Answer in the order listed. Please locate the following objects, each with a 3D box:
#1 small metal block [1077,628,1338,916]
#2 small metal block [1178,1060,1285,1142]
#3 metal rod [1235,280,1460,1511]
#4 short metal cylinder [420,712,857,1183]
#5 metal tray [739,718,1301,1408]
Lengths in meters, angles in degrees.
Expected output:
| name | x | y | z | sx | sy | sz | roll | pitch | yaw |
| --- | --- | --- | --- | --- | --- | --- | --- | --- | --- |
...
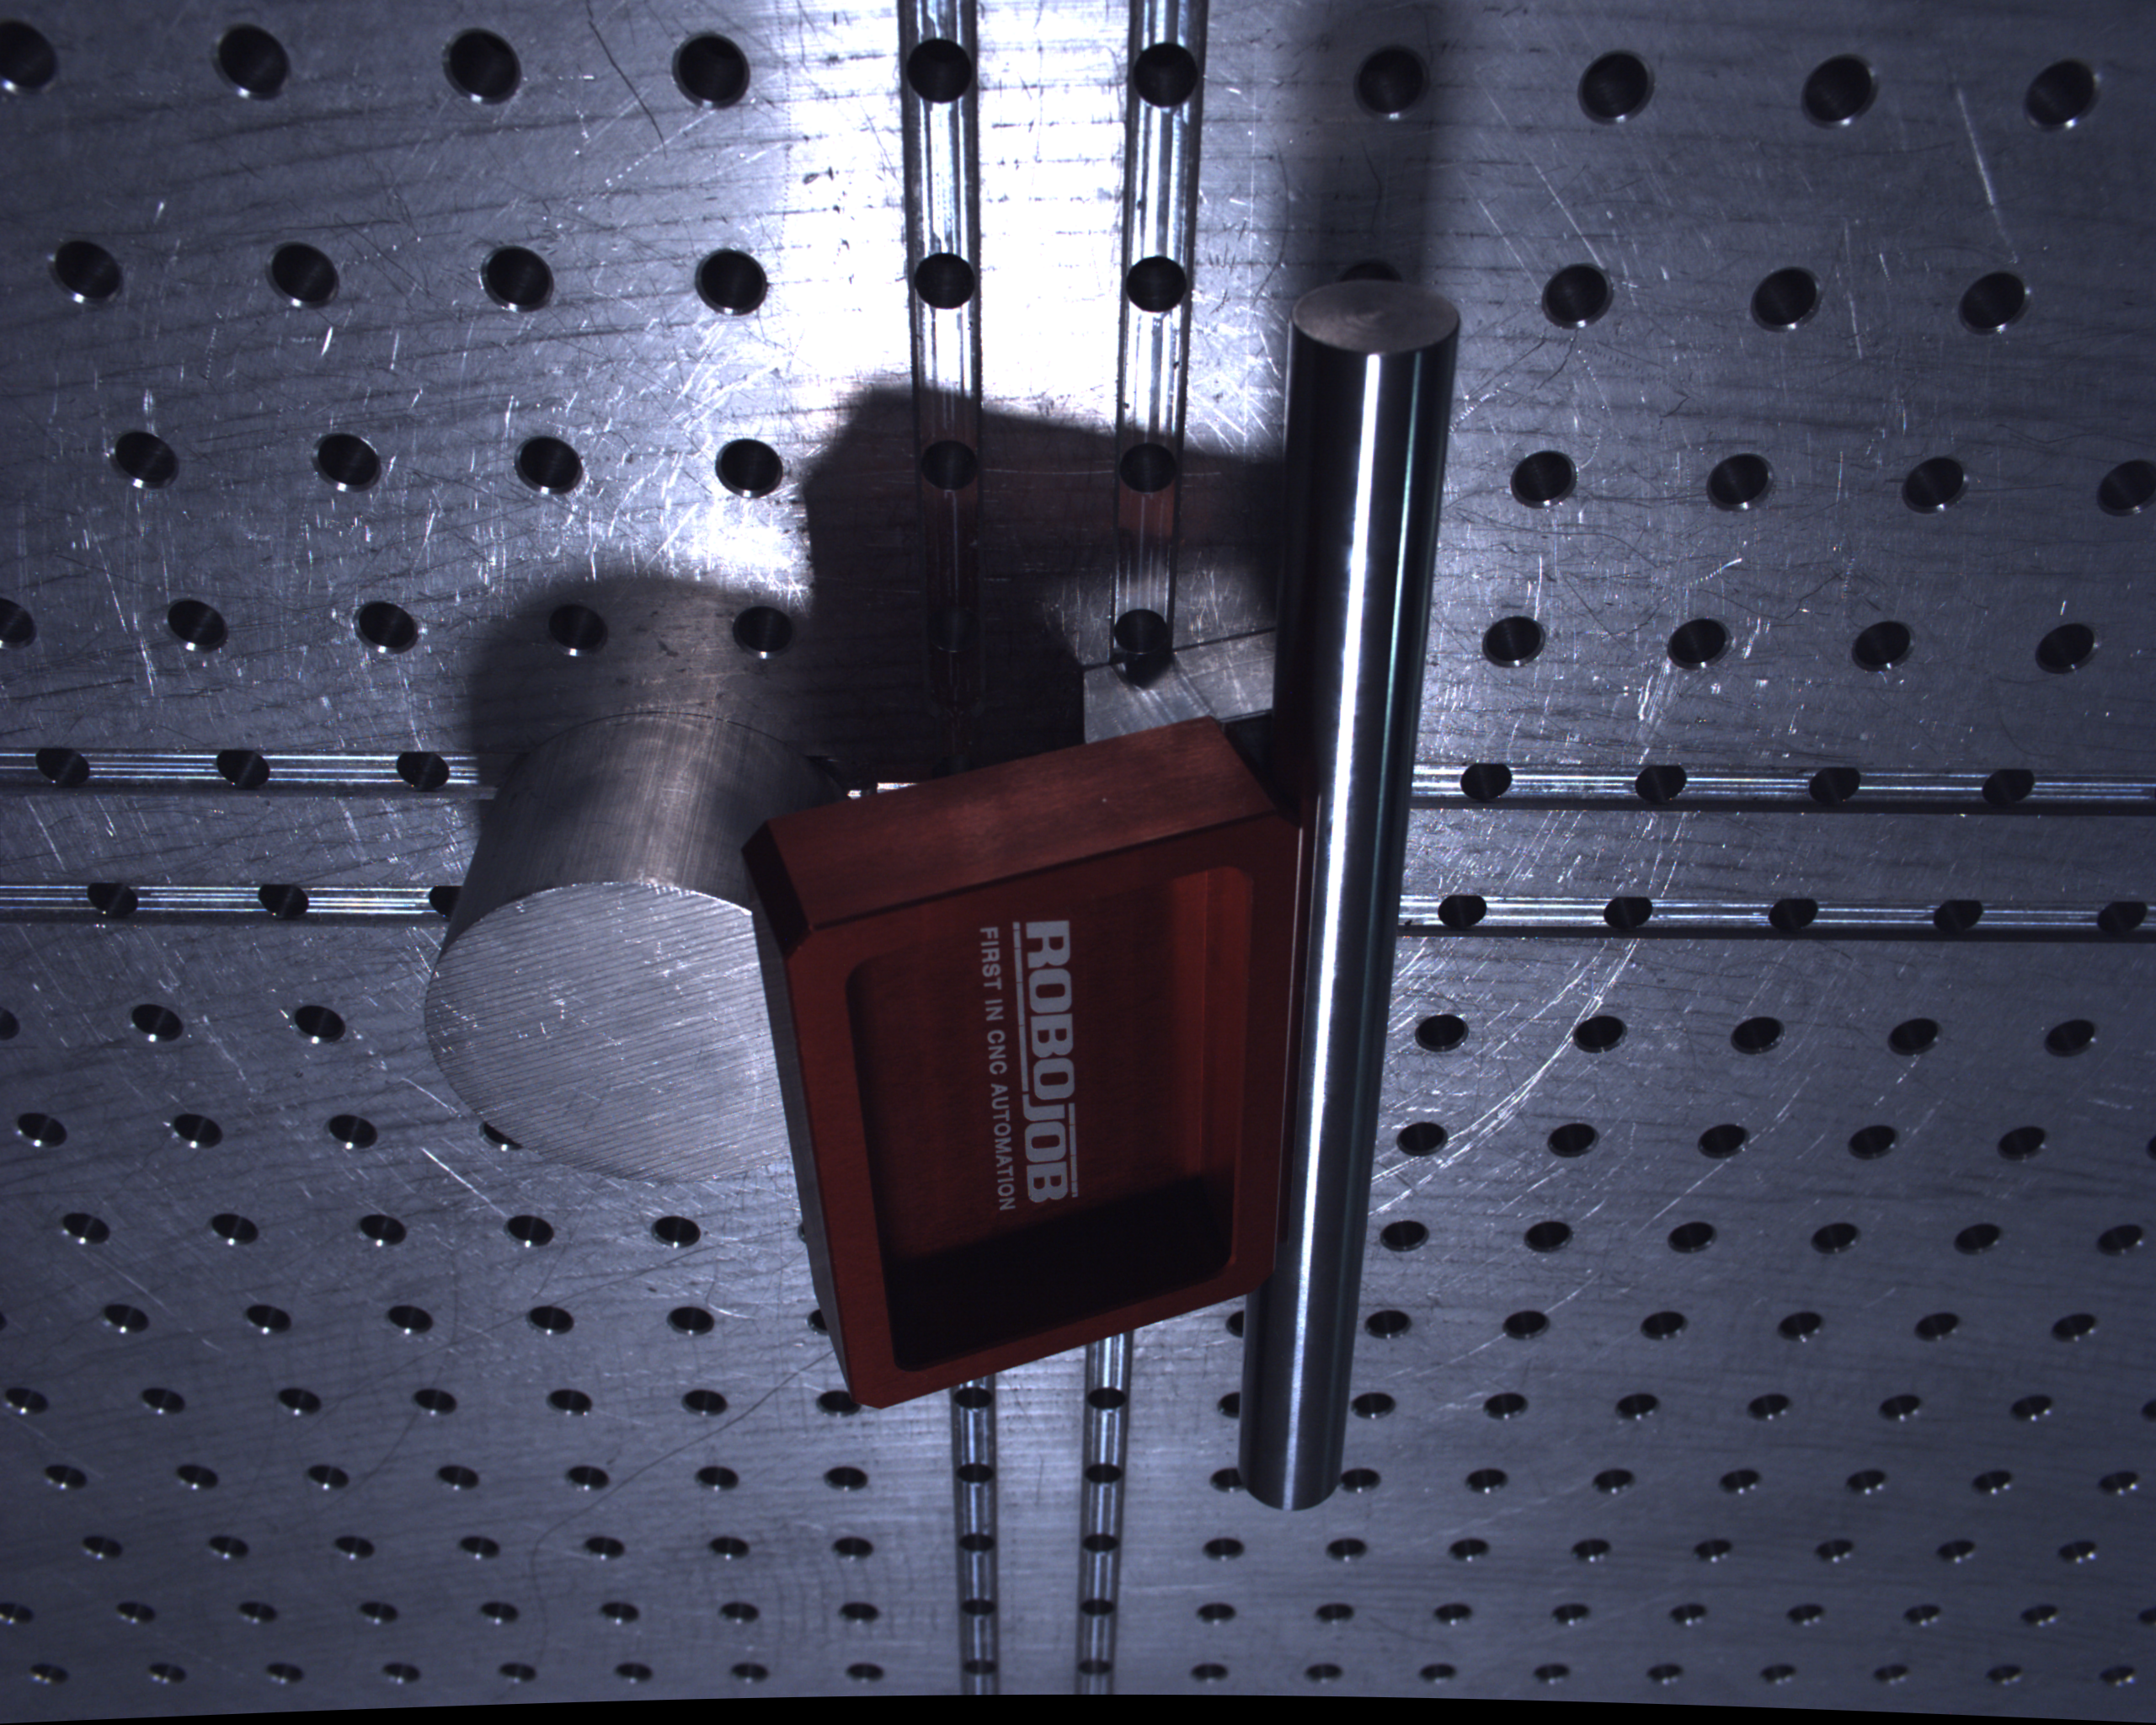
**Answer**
| name | x | y | z | sx | sy | sz | roll | pitch | yaw |
| --- | --- | --- | --- | --- | --- | --- | --- | --- | --- |
| small metal block | 0.031 | -0.015 | 0.399 | 0.050 | 0.025 | 0.050 | -12 | 130 | 9 |
| small metal block | 0.020 | 0.052 | 0.455 | 0.050 | 0.025 | 0.050 | 32 | 123 | -25 |
| metal rod | 0.047 | 0.032 | 0.406 | 0.025 | 0.025 | 0.298 | -1 | 130 | 0 |
| short metal cylinder | -0.082 | 0.017 | 0.408 | 0.081 | 0.050 | 0.079 | 0 | 130 | 0 |
| metal tray | -0.008 | 0.041 | 0.391 | 0.091 | 0.030 | 0.129 | -14 | 132 | -14 |
